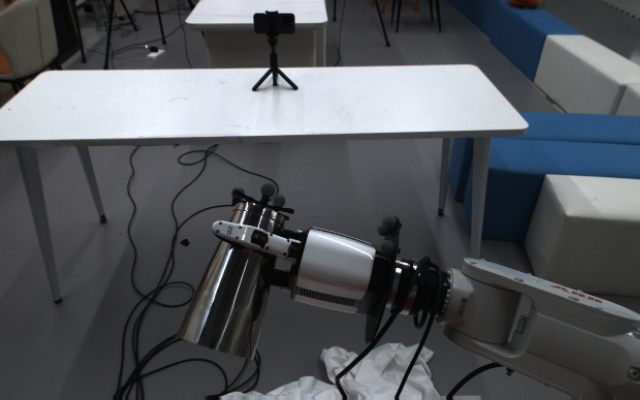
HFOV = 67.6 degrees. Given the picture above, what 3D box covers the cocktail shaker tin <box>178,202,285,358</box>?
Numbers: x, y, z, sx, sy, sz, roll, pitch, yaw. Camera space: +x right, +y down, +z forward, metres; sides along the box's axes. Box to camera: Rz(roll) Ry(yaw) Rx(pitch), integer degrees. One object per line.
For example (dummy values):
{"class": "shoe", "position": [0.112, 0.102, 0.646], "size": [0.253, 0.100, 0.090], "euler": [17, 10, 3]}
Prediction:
{"class": "cocktail shaker tin", "position": [-0.097, 0.091, 0.585], "size": [0.093, 0.093, 0.170], "euler": [12, 73, 14]}
